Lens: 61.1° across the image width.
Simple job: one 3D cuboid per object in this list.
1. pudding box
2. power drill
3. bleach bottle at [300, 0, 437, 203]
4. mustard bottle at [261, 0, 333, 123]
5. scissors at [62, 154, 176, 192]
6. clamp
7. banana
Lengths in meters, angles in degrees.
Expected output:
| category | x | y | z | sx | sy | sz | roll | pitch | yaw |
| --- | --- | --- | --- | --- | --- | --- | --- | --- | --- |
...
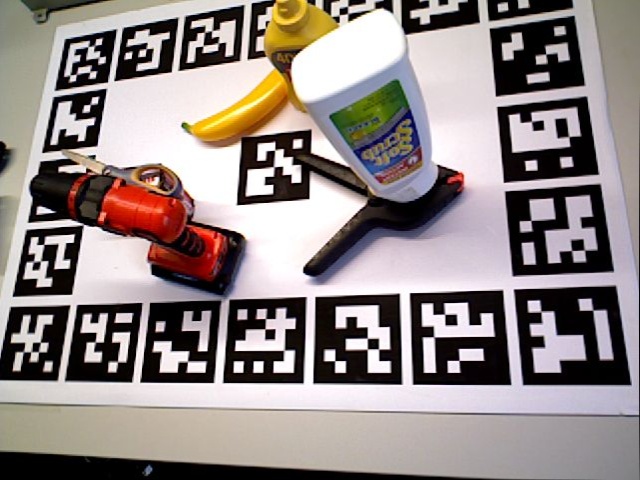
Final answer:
| category | x | y | z | sx | sy | sz | roll | pitch | yaw |
| --- | --- | --- | --- | --- | --- | --- | --- | --- | --- |
| pudding box | -0.245 | -0.055 | 0.705 | 0.114 | 0.091 | 0.038 | 1 | 64 | 15 |
| power drill | -0.209 | -0.005 | 0.594 | 0.185 | 0.188 | 0.056 | 9 | 66 | 21 |
| bleach bottle | 0.072 | -0.103 | 0.528 | 0.103 | 0.251 | 0.067 | -23 | 62 | 13 |
| mustard bottle | -0.017 | -0.213 | 0.642 | 0.096 | 0.192 | 0.058 | 11 | 73 | 17 |
| scissors | -0.268 | -0.083 | 0.651 | 0.203 | 0.016 | 0.087 | 23 | 84 | 17 |
| clamp | 0.062 | -0.051 | 0.628 | 0.203 | 0.037 | 0.164 | -9 | 72 | 11 |
| banana | -0.106 | -0.198 | 0.735 | 0.197 | 0.039 | 0.074 | -40 | 49 | 1 |
